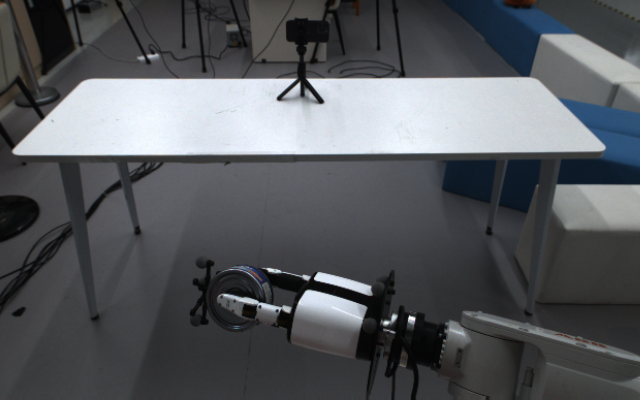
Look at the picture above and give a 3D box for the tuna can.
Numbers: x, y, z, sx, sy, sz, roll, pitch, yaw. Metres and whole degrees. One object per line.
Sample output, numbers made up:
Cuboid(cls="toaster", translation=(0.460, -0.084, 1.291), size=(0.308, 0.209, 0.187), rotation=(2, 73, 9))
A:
Cuboid(cls="tuna can", translation=(-0.104, 0.130, 0.645), size=(0.085, 0.085, 0.034), rotation=(10, 2, 12))
